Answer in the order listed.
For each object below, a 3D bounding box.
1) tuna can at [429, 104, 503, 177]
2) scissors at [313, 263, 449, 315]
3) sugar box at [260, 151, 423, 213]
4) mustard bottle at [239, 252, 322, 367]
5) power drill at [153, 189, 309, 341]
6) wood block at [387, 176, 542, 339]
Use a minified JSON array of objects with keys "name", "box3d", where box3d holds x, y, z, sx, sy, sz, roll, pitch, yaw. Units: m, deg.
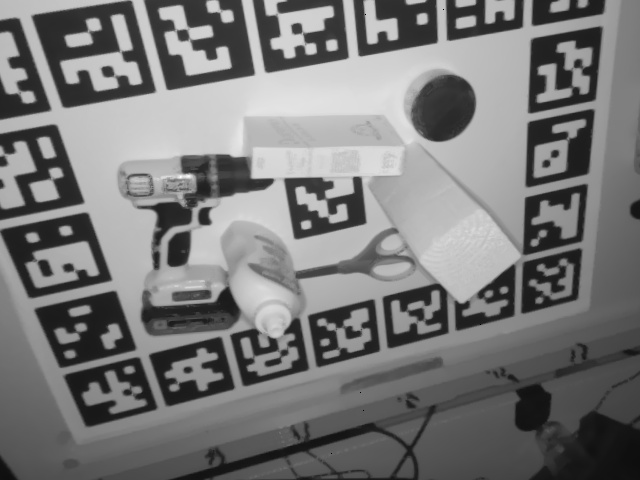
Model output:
[{"name":"tuna can","box3d":[0.178,-0.122,0.852,0.086,0.034,0.085,-5,117,-10]},{"name":"scissors","box3d":[0.085,0.078,0.943,0.204,0.016,0.087,-10,122,-9]},{"name":"sugar box","box3d":[0.022,-0.070,0.812,0.178,0.093,0.045,-1,120,-11]},{"name":"mustard bottle","box3d":[-0.044,0.089,0.827,0.097,0.191,0.058,36,104,-25]},{"name":"power drill","box3d":[-0.108,0.028,0.848,0.186,0.057,0.185,0,109,-14]},{"name":"wood block","box3d":[0.166,0.013,0.834,0.090,0.206,0.090,-37,117,7]}]
